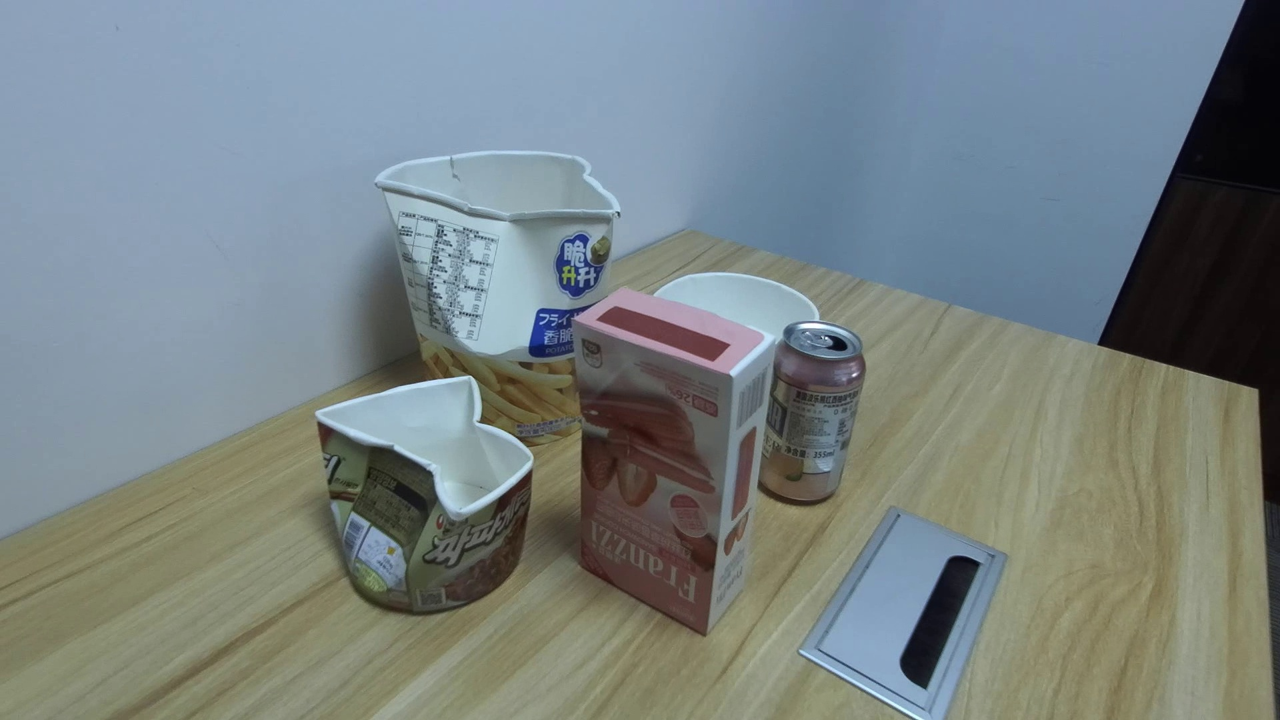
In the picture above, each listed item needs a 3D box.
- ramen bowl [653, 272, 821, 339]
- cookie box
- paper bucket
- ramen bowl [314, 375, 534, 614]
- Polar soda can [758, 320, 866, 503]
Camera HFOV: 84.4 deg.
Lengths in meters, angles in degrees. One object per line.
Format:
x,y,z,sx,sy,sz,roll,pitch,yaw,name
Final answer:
0.076,-0.002,0.602,0.140,0.095,0.140,3,32,-2,ramen bowl
0.011,0.059,0.403,0.104,0.187,0.049,21,36,28,cookie box
-0.112,-0.050,0.574,0.163,0.202,0.168,-6,28,-14,paper bucket
-0.127,0.087,0.438,0.112,0.093,0.127,-16,36,-30,ramen bowl
0.121,0.038,0.513,0.067,0.125,0.067,2,28,-1,Polar soda can
